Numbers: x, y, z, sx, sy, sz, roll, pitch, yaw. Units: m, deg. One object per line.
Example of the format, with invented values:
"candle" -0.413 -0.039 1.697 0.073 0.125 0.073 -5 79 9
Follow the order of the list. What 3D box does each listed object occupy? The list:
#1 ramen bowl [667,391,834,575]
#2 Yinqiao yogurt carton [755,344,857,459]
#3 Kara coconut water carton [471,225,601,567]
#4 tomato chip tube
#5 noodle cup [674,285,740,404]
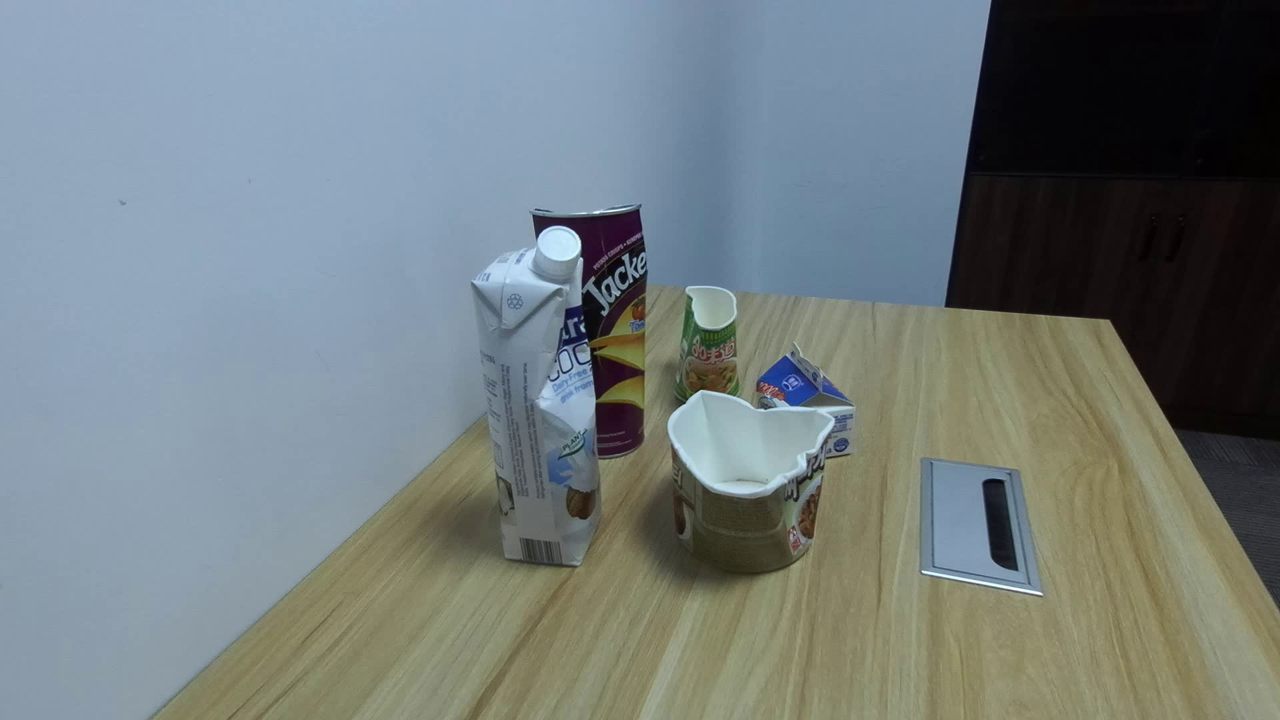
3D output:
"ramen bowl" 0.078 0.097 0.543 0.113 0.097 0.134 9 27 22
"Yinqiao yogurt carton" 0.155 0.038 0.669 0.074 0.092 0.075 -7 27 -11
"Kara coconut water carton" -0.072 0.030 0.521 0.078 0.256 0.083 10 28 22
"tomato chip tube" -0.038 -0.028 0.663 0.077 0.235 0.076 20 35 40
"noodle cup" 0.071 -0.012 0.754 0.070 0.111 0.115 5 27 17
